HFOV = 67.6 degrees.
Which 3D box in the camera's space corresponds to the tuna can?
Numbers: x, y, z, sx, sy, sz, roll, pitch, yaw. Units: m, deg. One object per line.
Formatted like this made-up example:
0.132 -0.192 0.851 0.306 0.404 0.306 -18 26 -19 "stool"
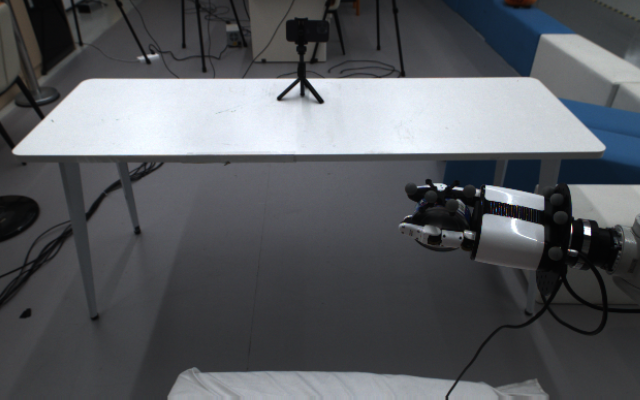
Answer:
0.179 0.032 0.710 0.085 0.085 0.034 12 39 14 "tuna can"
